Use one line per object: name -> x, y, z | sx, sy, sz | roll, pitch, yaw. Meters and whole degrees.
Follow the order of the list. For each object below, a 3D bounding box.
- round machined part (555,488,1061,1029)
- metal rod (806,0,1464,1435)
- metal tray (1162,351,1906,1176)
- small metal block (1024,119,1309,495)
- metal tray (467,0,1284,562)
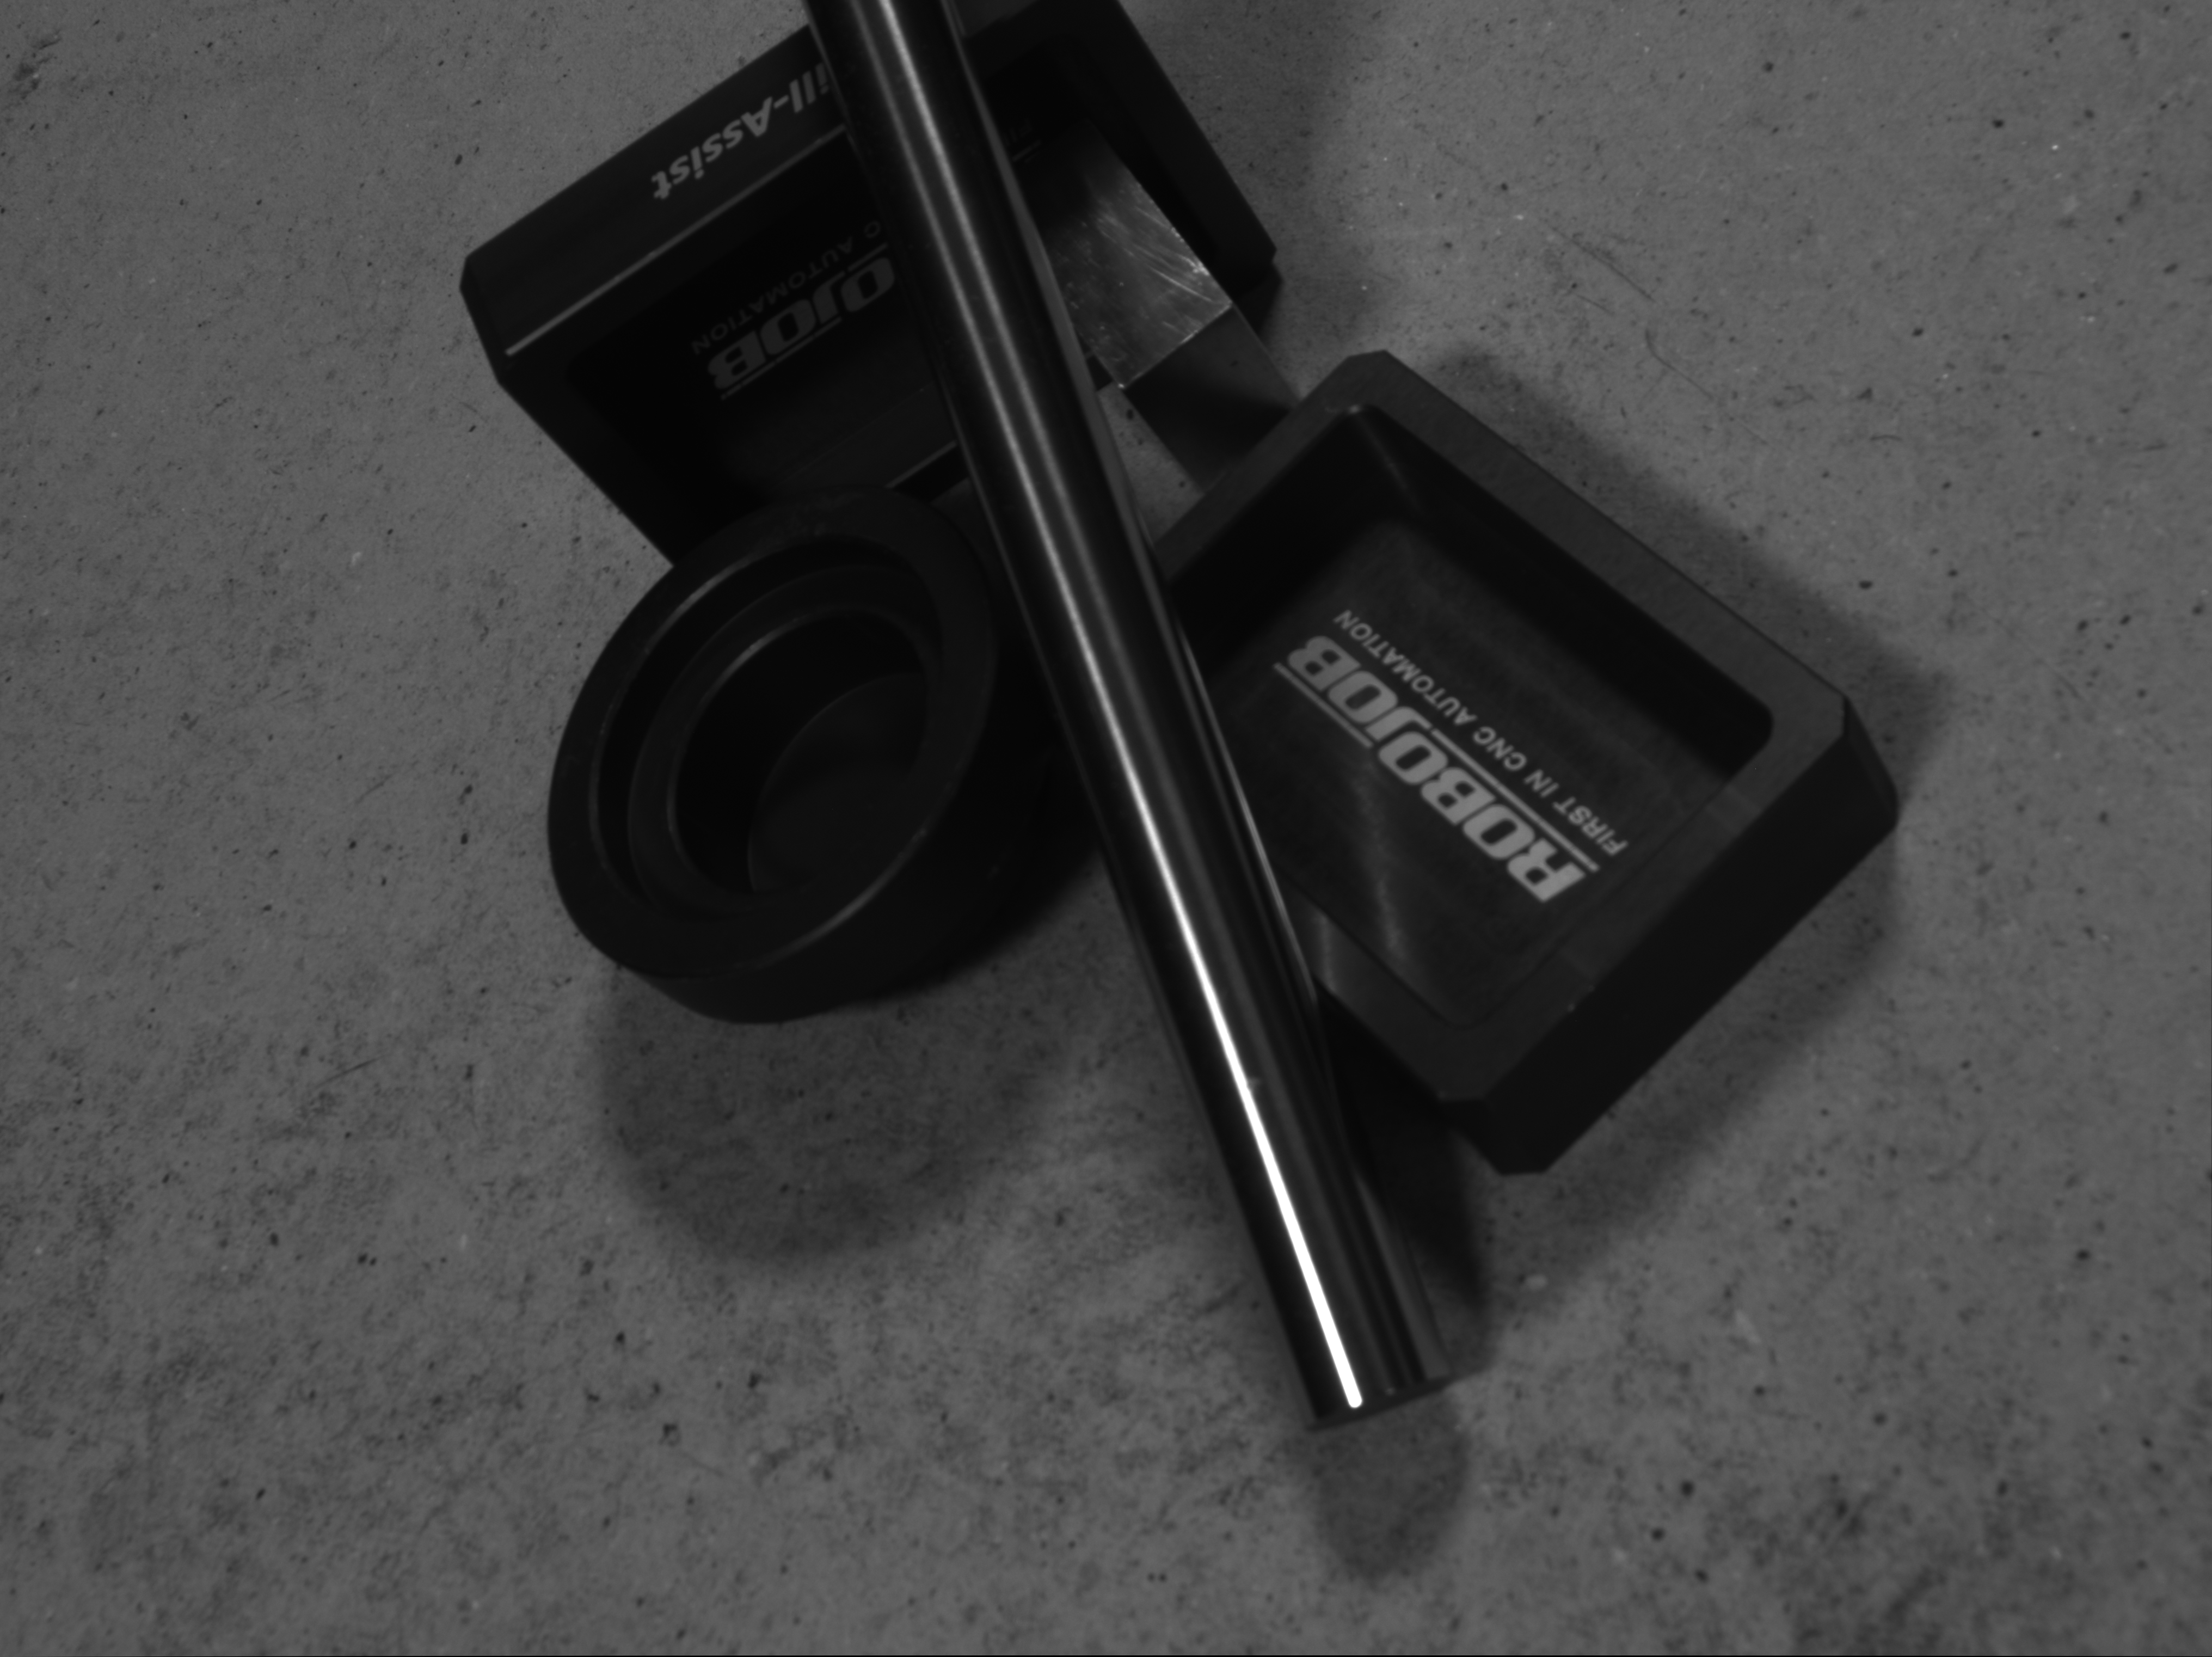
round machined part -> -0.048, -0.009, 0.660 | 0.098, 0.042, 0.098 | -17, 56, 27
metal rod -> -0.005, -0.047, 0.607 | 0.025, 0.025, 0.300 | -23, 75, 14
metal tray -> 0.058, -0.014, 0.619 | 0.090, 0.030, 0.130 | -44, 51, -2
small metal block -> 0.009, -0.095, 0.676 | 0.025, 0.050, 0.050 | -38, 65, 6
metal tray -> -0.042, -0.106, 0.689 | 0.130, 0.090, 0.030 | -33, 51, 7
